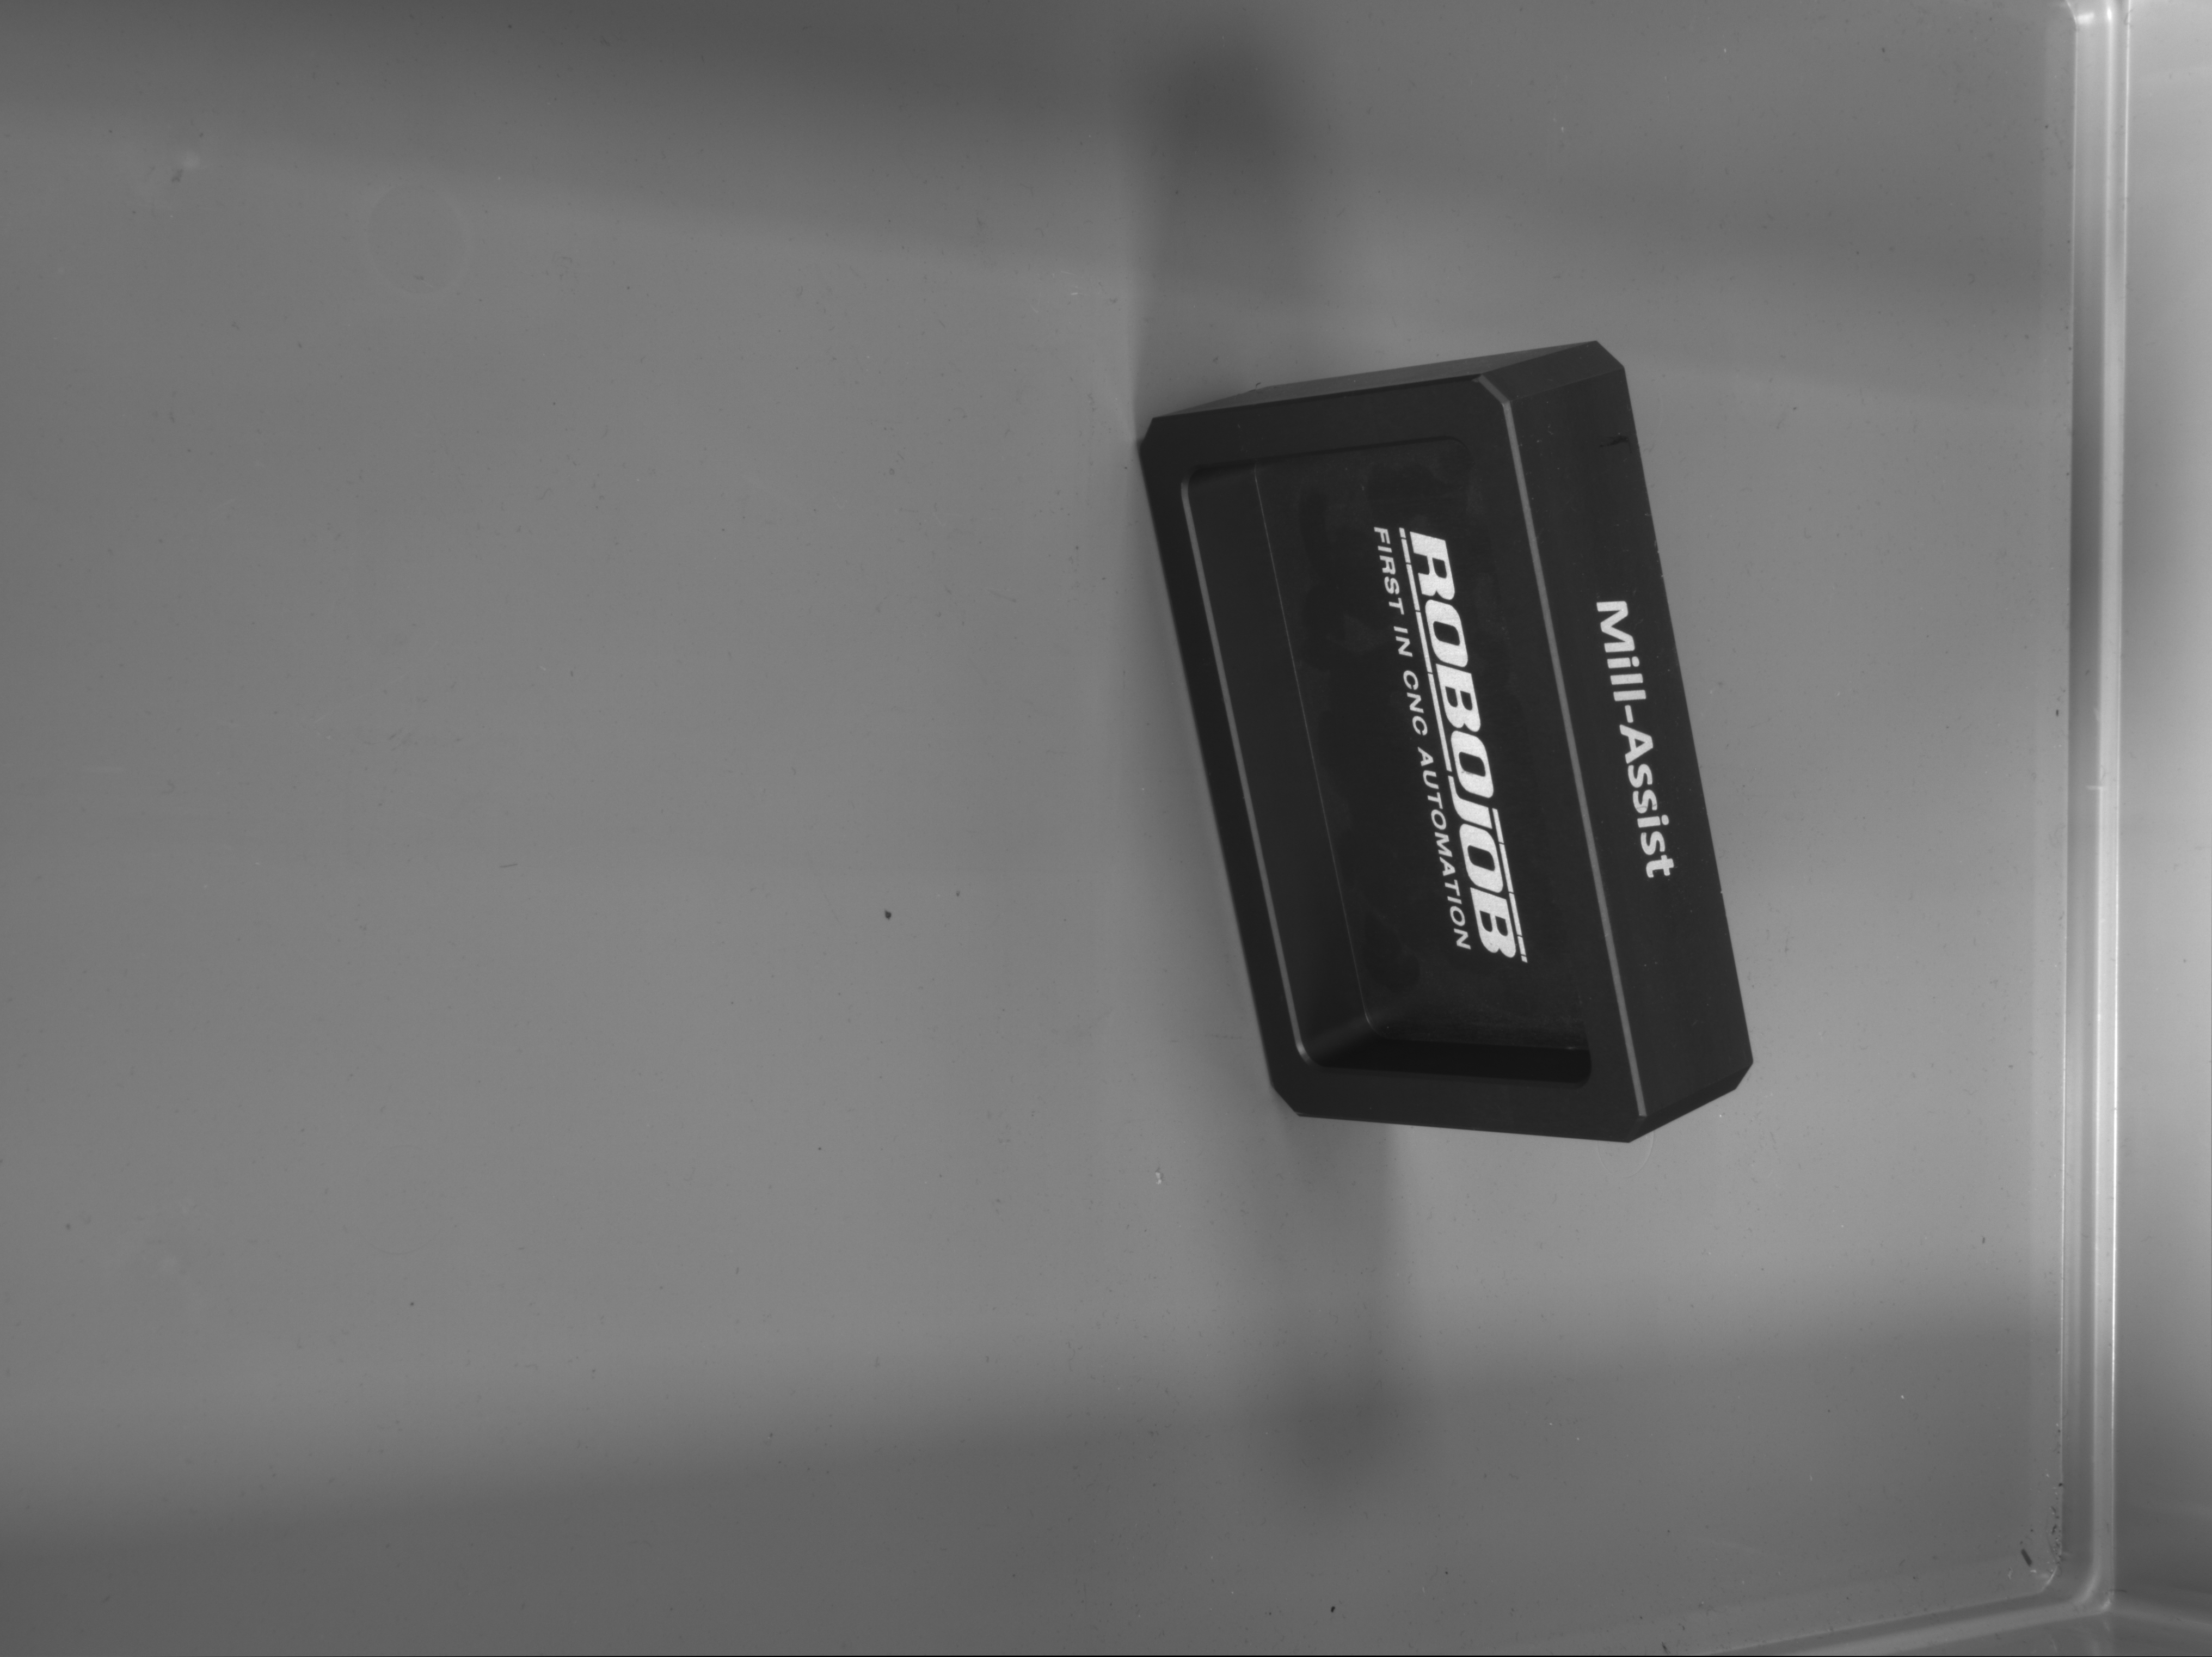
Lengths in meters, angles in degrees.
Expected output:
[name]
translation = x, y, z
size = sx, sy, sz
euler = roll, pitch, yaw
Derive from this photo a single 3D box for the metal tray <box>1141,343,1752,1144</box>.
[metal tray]
translation = 0.058, -0.014, 0.639
size = 0.030, 0.090, 0.130
euler = -20, 103, -39
